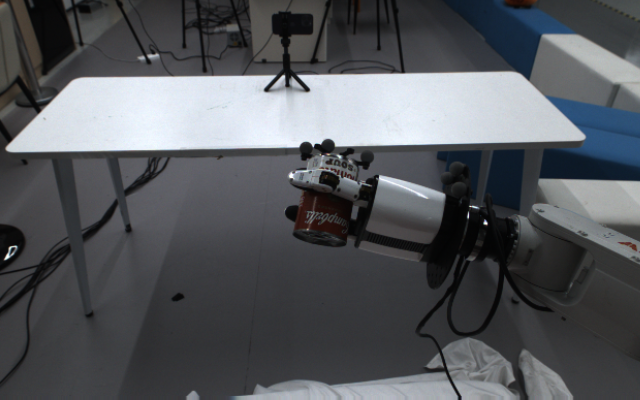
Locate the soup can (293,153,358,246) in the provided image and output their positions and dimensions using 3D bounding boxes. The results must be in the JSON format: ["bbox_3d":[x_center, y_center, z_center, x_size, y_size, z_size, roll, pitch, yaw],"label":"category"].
[{"bbox_3d":[0.010,0.001,0.600,0.067,0.067,0.101,8,72,9],"label":"soup can"}]
